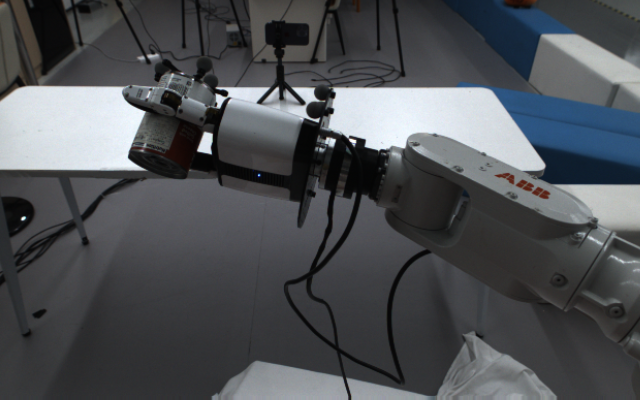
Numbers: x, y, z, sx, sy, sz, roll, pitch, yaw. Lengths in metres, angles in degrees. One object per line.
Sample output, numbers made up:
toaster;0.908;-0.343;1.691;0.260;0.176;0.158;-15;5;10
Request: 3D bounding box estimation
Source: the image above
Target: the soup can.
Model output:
soup can;-0.163;-0.082;0.544;0.067;0.067;0.101;11;72;13
